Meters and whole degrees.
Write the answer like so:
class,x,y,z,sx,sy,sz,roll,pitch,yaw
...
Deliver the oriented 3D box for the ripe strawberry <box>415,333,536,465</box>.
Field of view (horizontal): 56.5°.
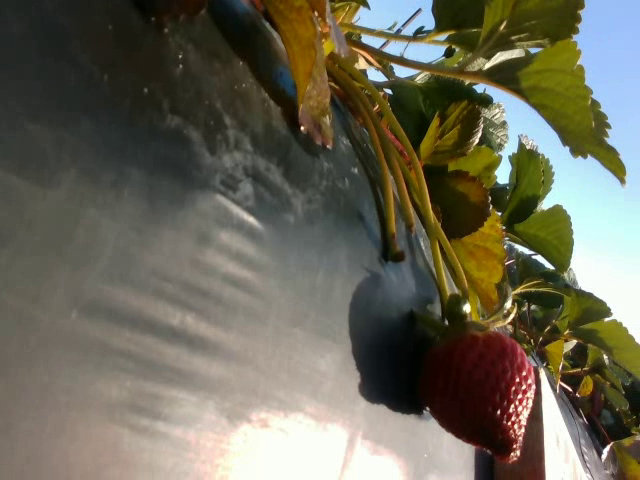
class,x,y,z,sx,sy,sz,roll,pitch,yaw
ripe strawberry,0.049,0.047,0.173,0.036,0.044,0.040,-21,-21,23
